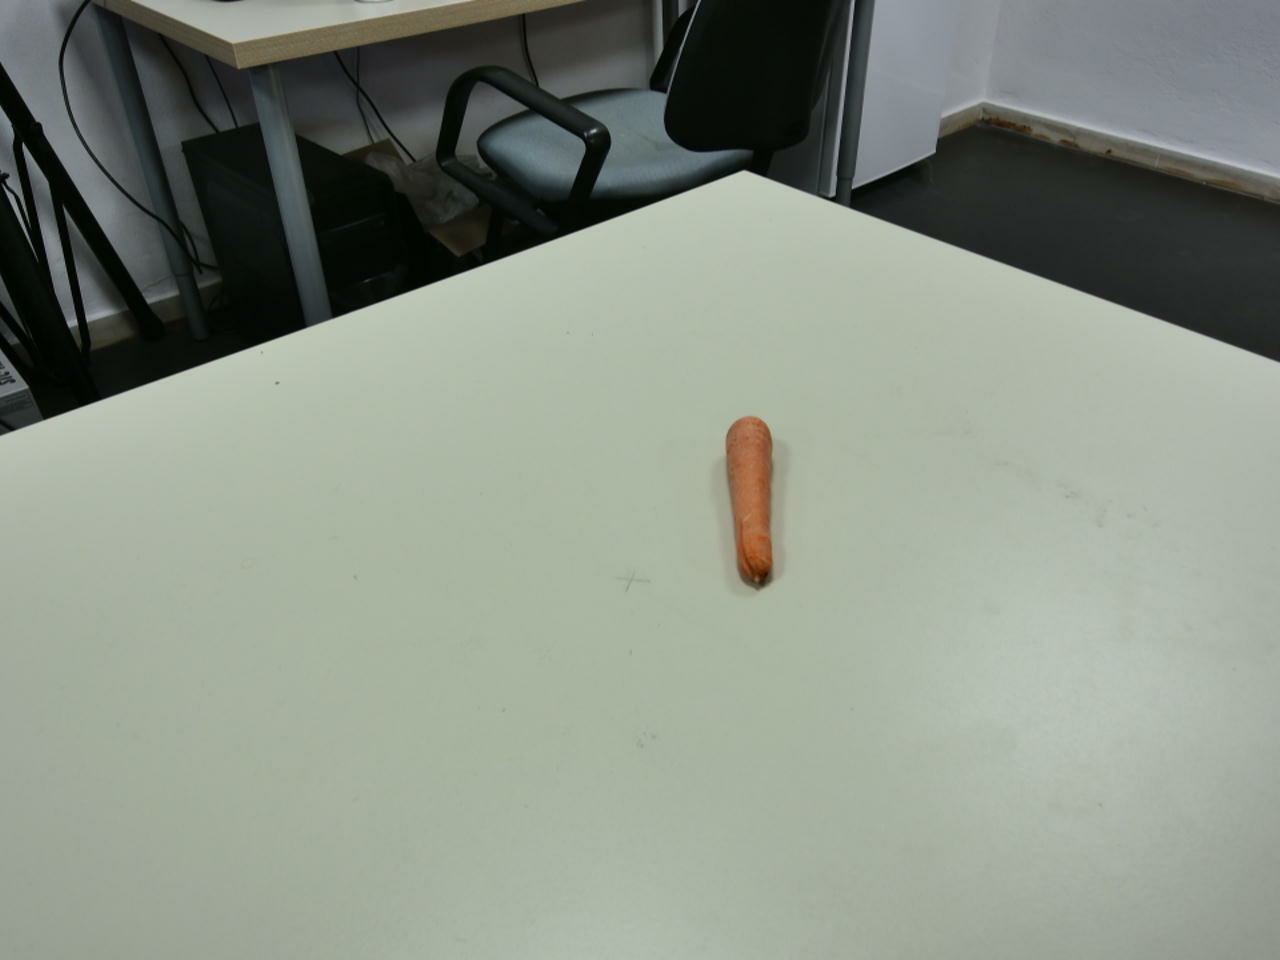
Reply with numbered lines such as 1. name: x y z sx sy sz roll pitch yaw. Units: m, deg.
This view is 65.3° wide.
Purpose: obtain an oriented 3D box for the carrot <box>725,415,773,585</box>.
1. carrot: 0.064 0.006 0.577 0.030 0.032 0.136 1 36 4
